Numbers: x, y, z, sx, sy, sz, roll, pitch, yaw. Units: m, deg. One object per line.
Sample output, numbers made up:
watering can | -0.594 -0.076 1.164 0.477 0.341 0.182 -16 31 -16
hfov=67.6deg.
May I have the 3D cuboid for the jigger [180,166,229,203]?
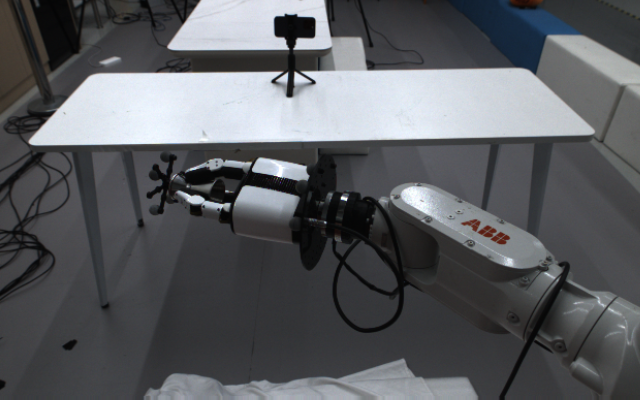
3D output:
jigger | -0.172 -0.016 0.699 0.071 0.043 0.043 11 36 15
